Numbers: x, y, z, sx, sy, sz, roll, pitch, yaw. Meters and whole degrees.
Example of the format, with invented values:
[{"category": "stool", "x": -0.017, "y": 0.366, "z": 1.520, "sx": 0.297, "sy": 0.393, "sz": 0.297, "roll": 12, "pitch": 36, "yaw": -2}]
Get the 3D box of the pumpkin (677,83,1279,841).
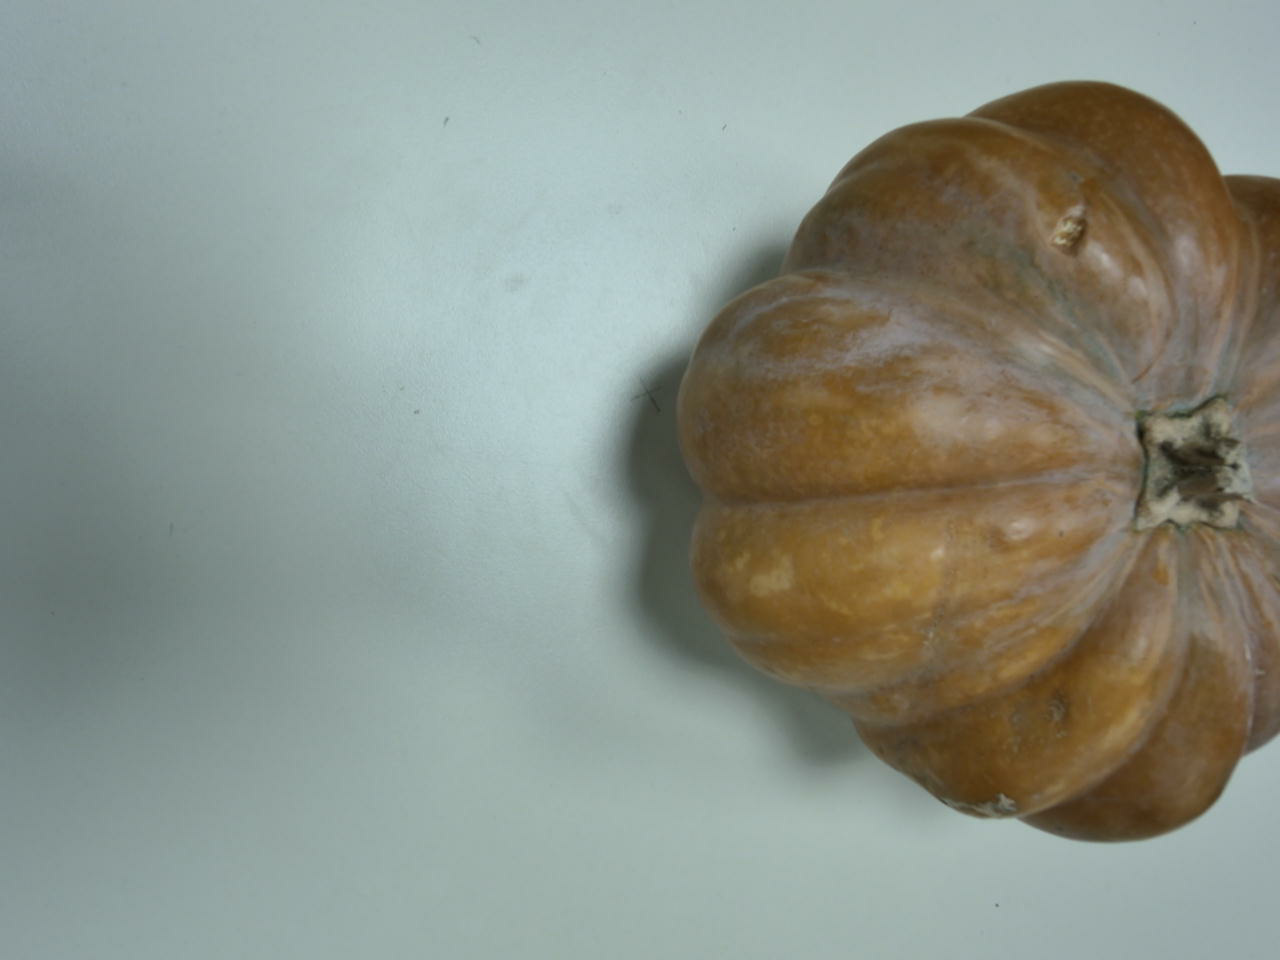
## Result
[{"category": "pumpkin", "x": 0.149, "y": -0.007, "z": 0.375, "sx": 0.277, "sy": 0.181, "sz": 0.277, "roll": 0, "pitch": 91, "yaw": -12}]
